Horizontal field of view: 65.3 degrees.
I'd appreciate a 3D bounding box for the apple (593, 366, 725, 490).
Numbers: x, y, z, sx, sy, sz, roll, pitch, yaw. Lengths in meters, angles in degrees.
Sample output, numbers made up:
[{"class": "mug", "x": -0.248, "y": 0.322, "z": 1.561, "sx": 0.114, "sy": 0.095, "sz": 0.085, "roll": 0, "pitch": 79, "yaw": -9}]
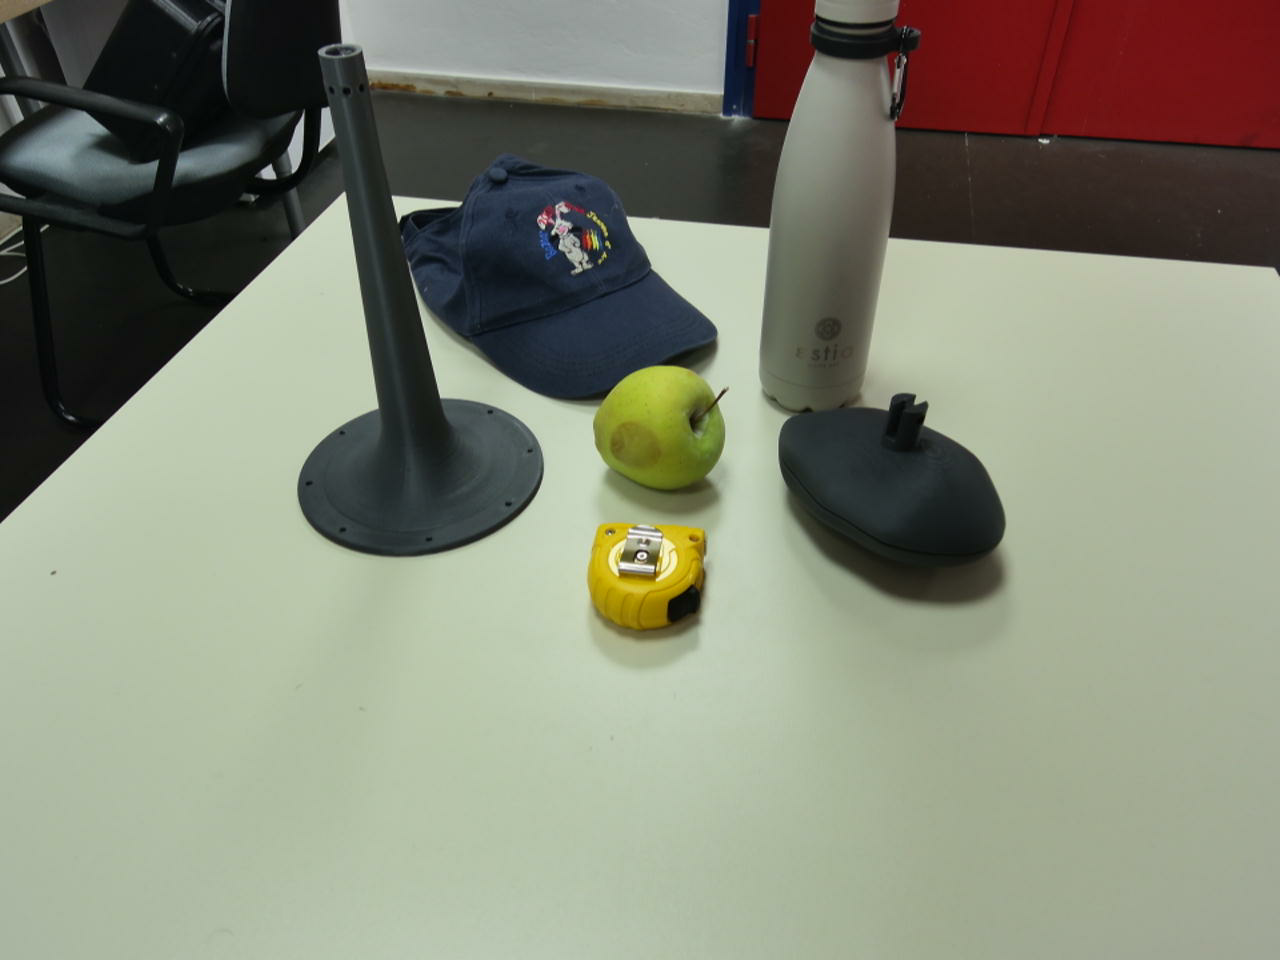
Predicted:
[{"class": "apple", "x": 0.013, "y": -0.033, "z": 0.598, "sx": 0.072, "sy": 0.075, "sz": 0.077, "roll": -22, "pitch": 44, "yaw": -25}]
